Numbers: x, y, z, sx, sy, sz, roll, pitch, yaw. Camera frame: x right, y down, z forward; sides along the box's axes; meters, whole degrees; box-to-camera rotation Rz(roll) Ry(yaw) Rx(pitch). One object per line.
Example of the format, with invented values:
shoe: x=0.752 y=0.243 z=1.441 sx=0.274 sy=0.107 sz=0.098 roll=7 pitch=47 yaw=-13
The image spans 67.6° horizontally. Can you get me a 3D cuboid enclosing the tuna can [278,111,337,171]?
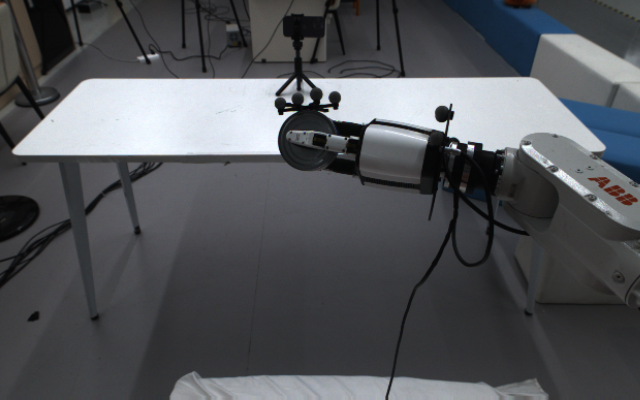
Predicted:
tuna can: x=-0.012 y=-0.079 z=0.687 sx=0.085 sy=0.085 sz=0.034 roll=10 pitch=3 yaw=11
